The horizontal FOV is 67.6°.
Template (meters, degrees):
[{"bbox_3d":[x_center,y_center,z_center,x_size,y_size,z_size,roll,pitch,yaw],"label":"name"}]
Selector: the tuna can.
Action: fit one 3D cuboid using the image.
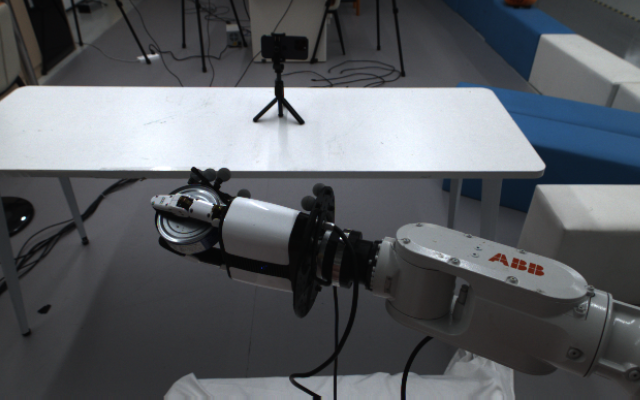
[{"bbox_3d":[-0.161,0.024,0.613,0.085,0.034,0.085,-4,56,6],"label":"tuna can"}]
